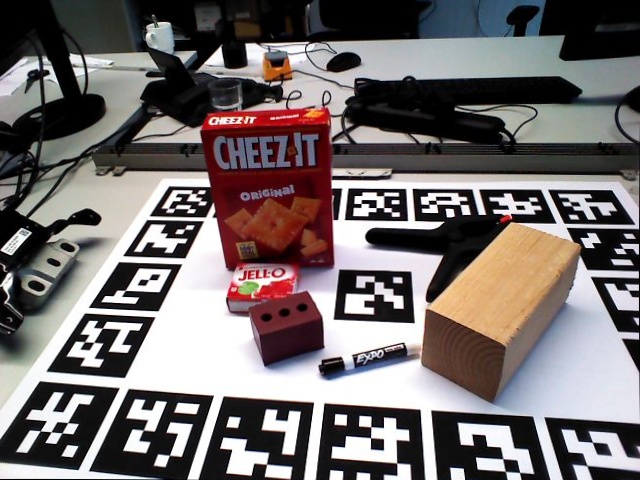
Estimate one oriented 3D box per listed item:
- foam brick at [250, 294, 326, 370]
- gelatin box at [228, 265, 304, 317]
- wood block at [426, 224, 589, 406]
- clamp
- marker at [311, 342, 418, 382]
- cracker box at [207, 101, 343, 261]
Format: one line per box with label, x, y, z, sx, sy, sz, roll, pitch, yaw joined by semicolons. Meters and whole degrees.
foam brick;-0.038;0.106;0.606;0.078;0.051;0.052;-15;40;-12
gelatin box;-0.069;0.067;0.683;0.090;0.030;0.073;0;39;7
wood block;0.215;0.074;0.590;0.090;0.091;0.205;24;43;36
clamp;0.194;0.001;0.726;0.202;0.037;0.165;-19;40;-17
marker;0.049;0.137;0.579;0.121;0.020;0.019;-12;40;-8
cracker box;-0.052;-0.072;0.699;0.165;0.214;0.071;-1;37;3
